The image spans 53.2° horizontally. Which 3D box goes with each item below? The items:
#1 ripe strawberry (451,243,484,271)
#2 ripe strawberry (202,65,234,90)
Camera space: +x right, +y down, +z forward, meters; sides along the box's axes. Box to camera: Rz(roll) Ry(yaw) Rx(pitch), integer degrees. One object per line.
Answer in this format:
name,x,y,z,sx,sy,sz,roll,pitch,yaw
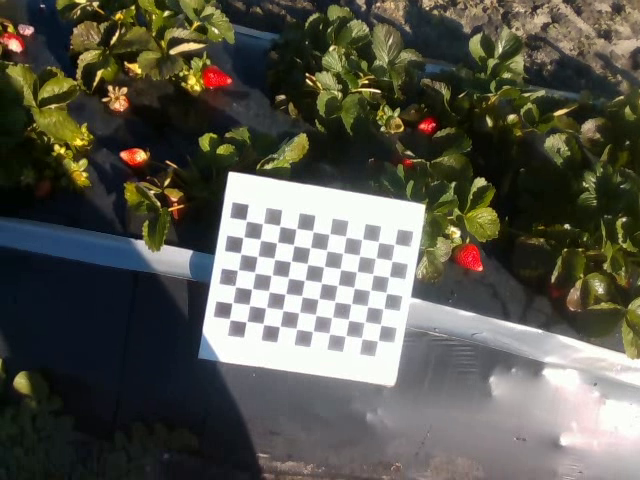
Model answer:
ripe strawberry,0.235,0.032,0.991,0.048,0.055,0.029,-37,2,-5
ripe strawberry,-0.186,-0.290,1.134,0.064,0.050,0.052,16,-2,5
